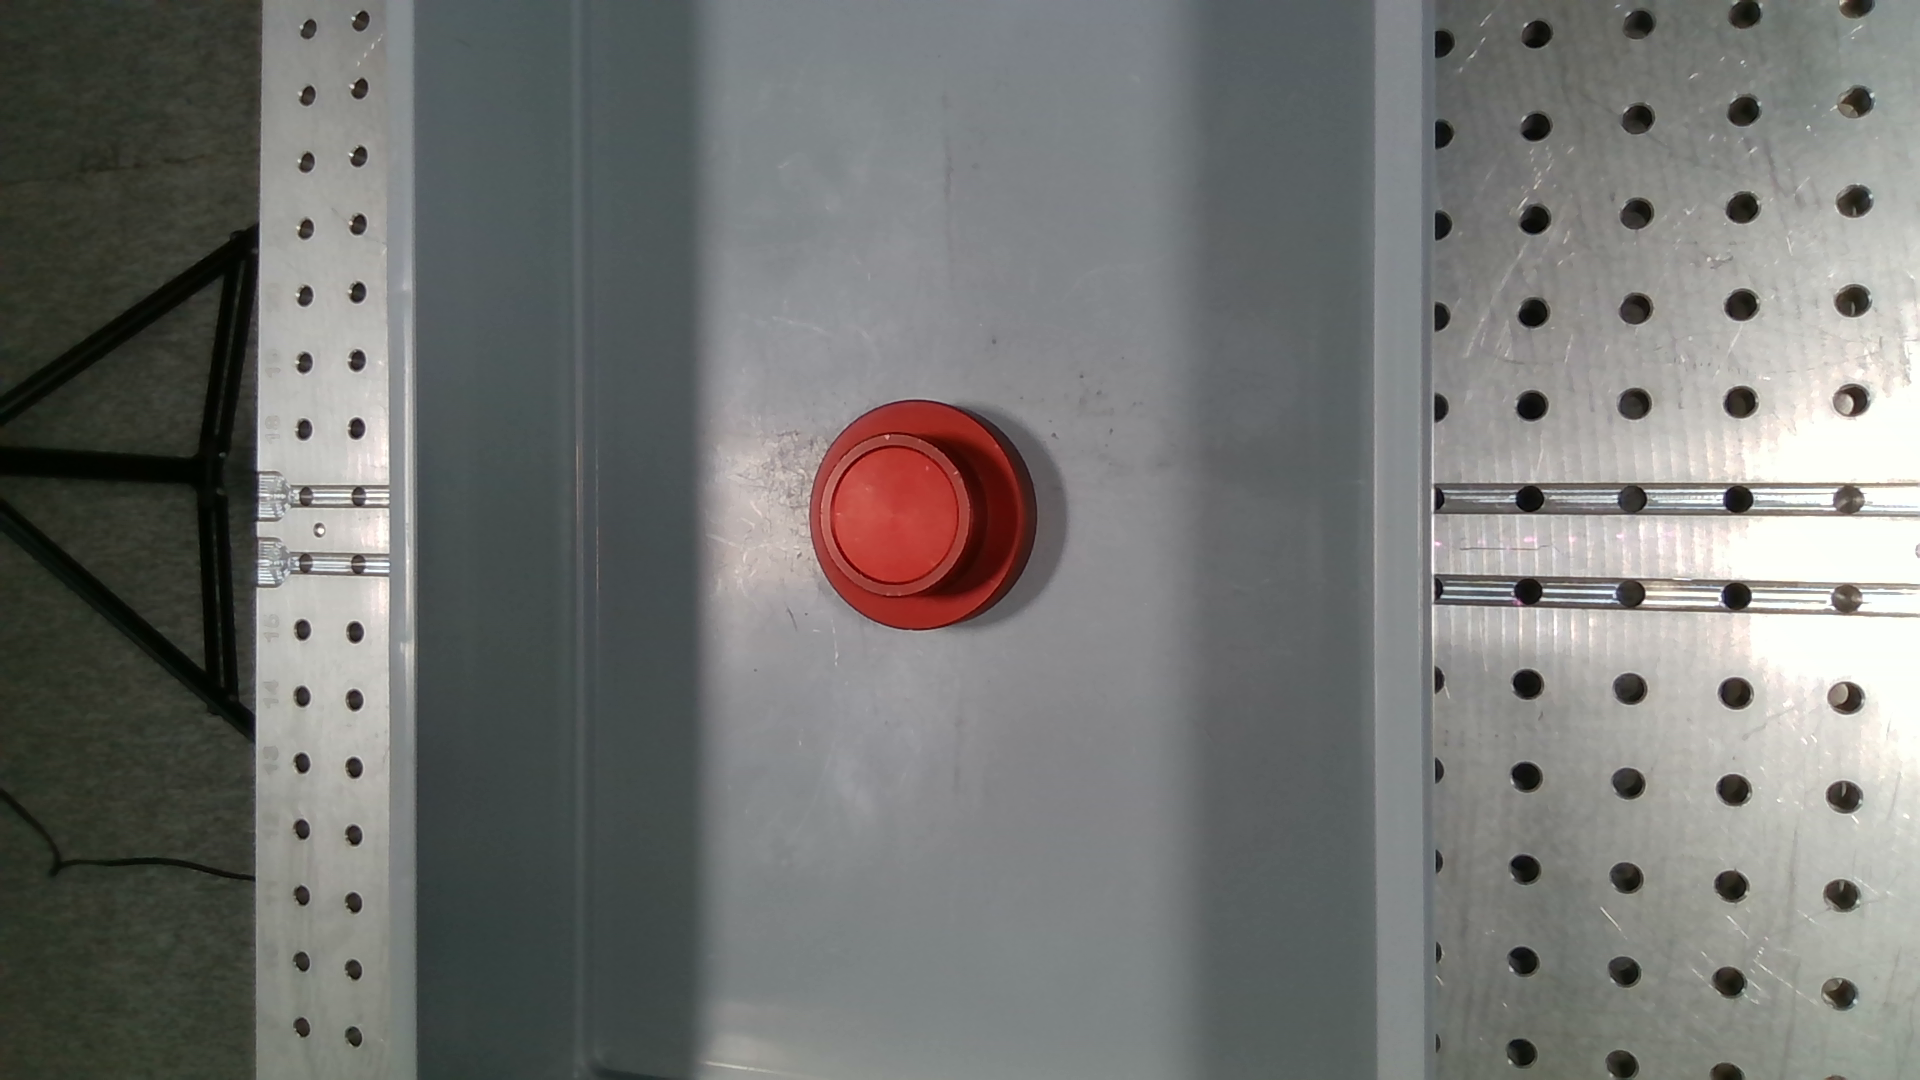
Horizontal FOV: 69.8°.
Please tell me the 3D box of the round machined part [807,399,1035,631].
[{"bbox_3d":[-0.021,-0.010,0.581,0.098,0.042,0.098,0,91,20],"label":"round machined part"}]
